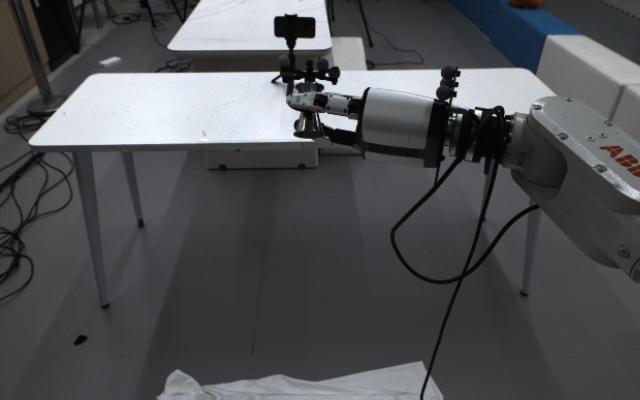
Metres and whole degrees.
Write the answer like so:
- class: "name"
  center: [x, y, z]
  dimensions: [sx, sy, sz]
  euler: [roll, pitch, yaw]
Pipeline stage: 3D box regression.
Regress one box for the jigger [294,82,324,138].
- class: "jigger"
  center: [-0.015, -0.123, 0.663]
  dimensions: [0.043, 0.071, 0.043]
  euler: [1, -5, 0]
